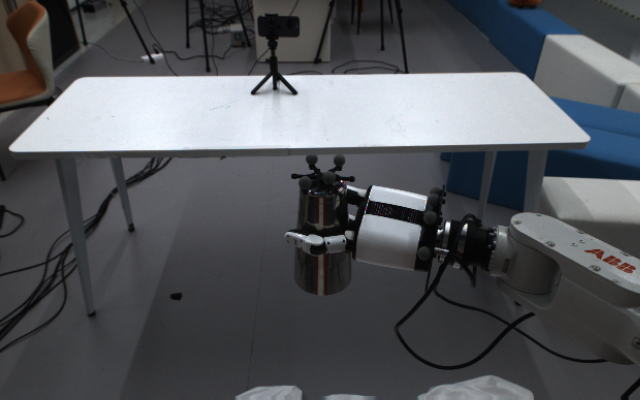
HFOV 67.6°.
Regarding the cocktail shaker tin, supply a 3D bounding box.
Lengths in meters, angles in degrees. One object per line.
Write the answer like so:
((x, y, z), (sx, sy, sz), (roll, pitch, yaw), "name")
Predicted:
((0.006, 0.046, 0.722), (0.093, 0.170, 0.093), (0, 33, 0), "cocktail shaker tin")
